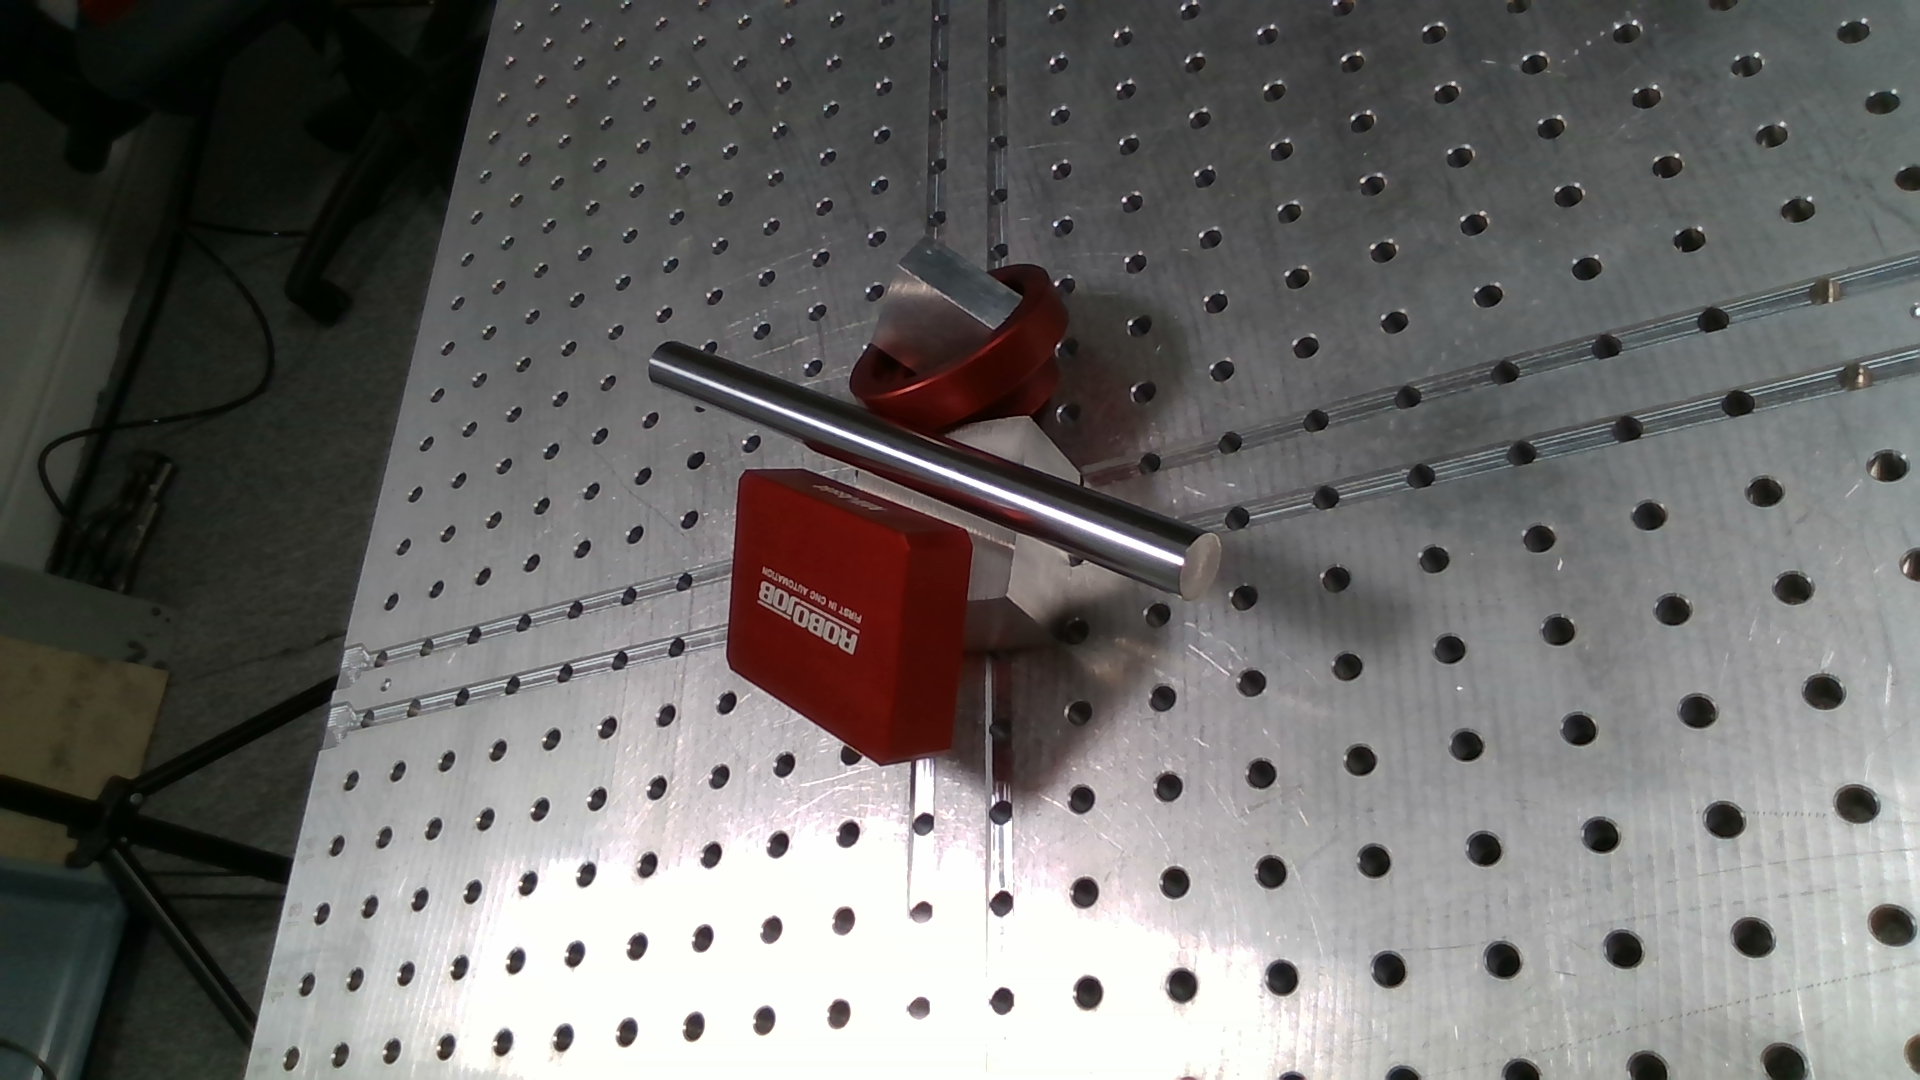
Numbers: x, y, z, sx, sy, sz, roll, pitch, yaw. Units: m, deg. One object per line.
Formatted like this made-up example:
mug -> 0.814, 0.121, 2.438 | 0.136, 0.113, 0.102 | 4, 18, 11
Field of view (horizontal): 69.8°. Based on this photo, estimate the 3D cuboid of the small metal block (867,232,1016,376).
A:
small metal block -> -0.007, -0.095, 0.591 | 0.050, 0.050, 0.025 | 35, 54, 4

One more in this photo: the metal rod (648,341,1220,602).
metal rod -> -0.028, -0.037, 0.560 | 0.300, 0.025, 0.025 | 23, 79, 38

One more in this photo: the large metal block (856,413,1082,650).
large metal block -> 0.000, -0.001, 0.572 | 0.080, 0.050, 0.080 | -6, 63, 29

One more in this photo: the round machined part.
round machined part -> 0.003, -0.076, 0.599 | 0.098, 0.042, 0.098 | -24, 30, 15

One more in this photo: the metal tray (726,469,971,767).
metal tray -> -0.050, 0.027, 0.558 | 0.130, 0.030, 0.090 | 21, 109, 51
